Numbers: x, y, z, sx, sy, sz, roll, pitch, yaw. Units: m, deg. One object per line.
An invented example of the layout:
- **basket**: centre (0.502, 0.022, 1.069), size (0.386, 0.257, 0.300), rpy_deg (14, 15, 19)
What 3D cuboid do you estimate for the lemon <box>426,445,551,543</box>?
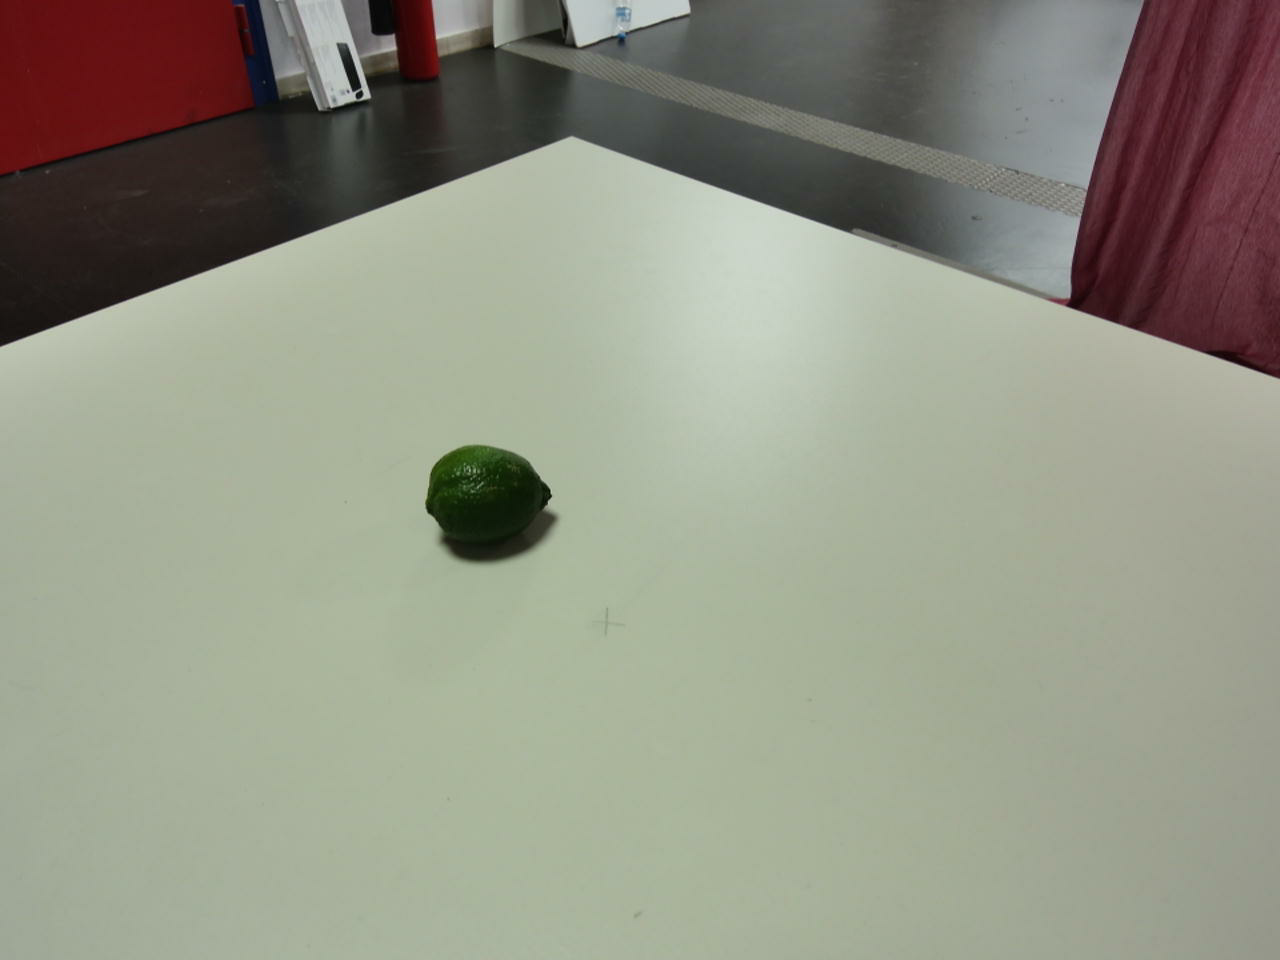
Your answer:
- **lemon**: centre (-0.080, 0.006, 0.509), size (0.054, 0.051, 0.057), rpy_deg (25, 43, 28)
